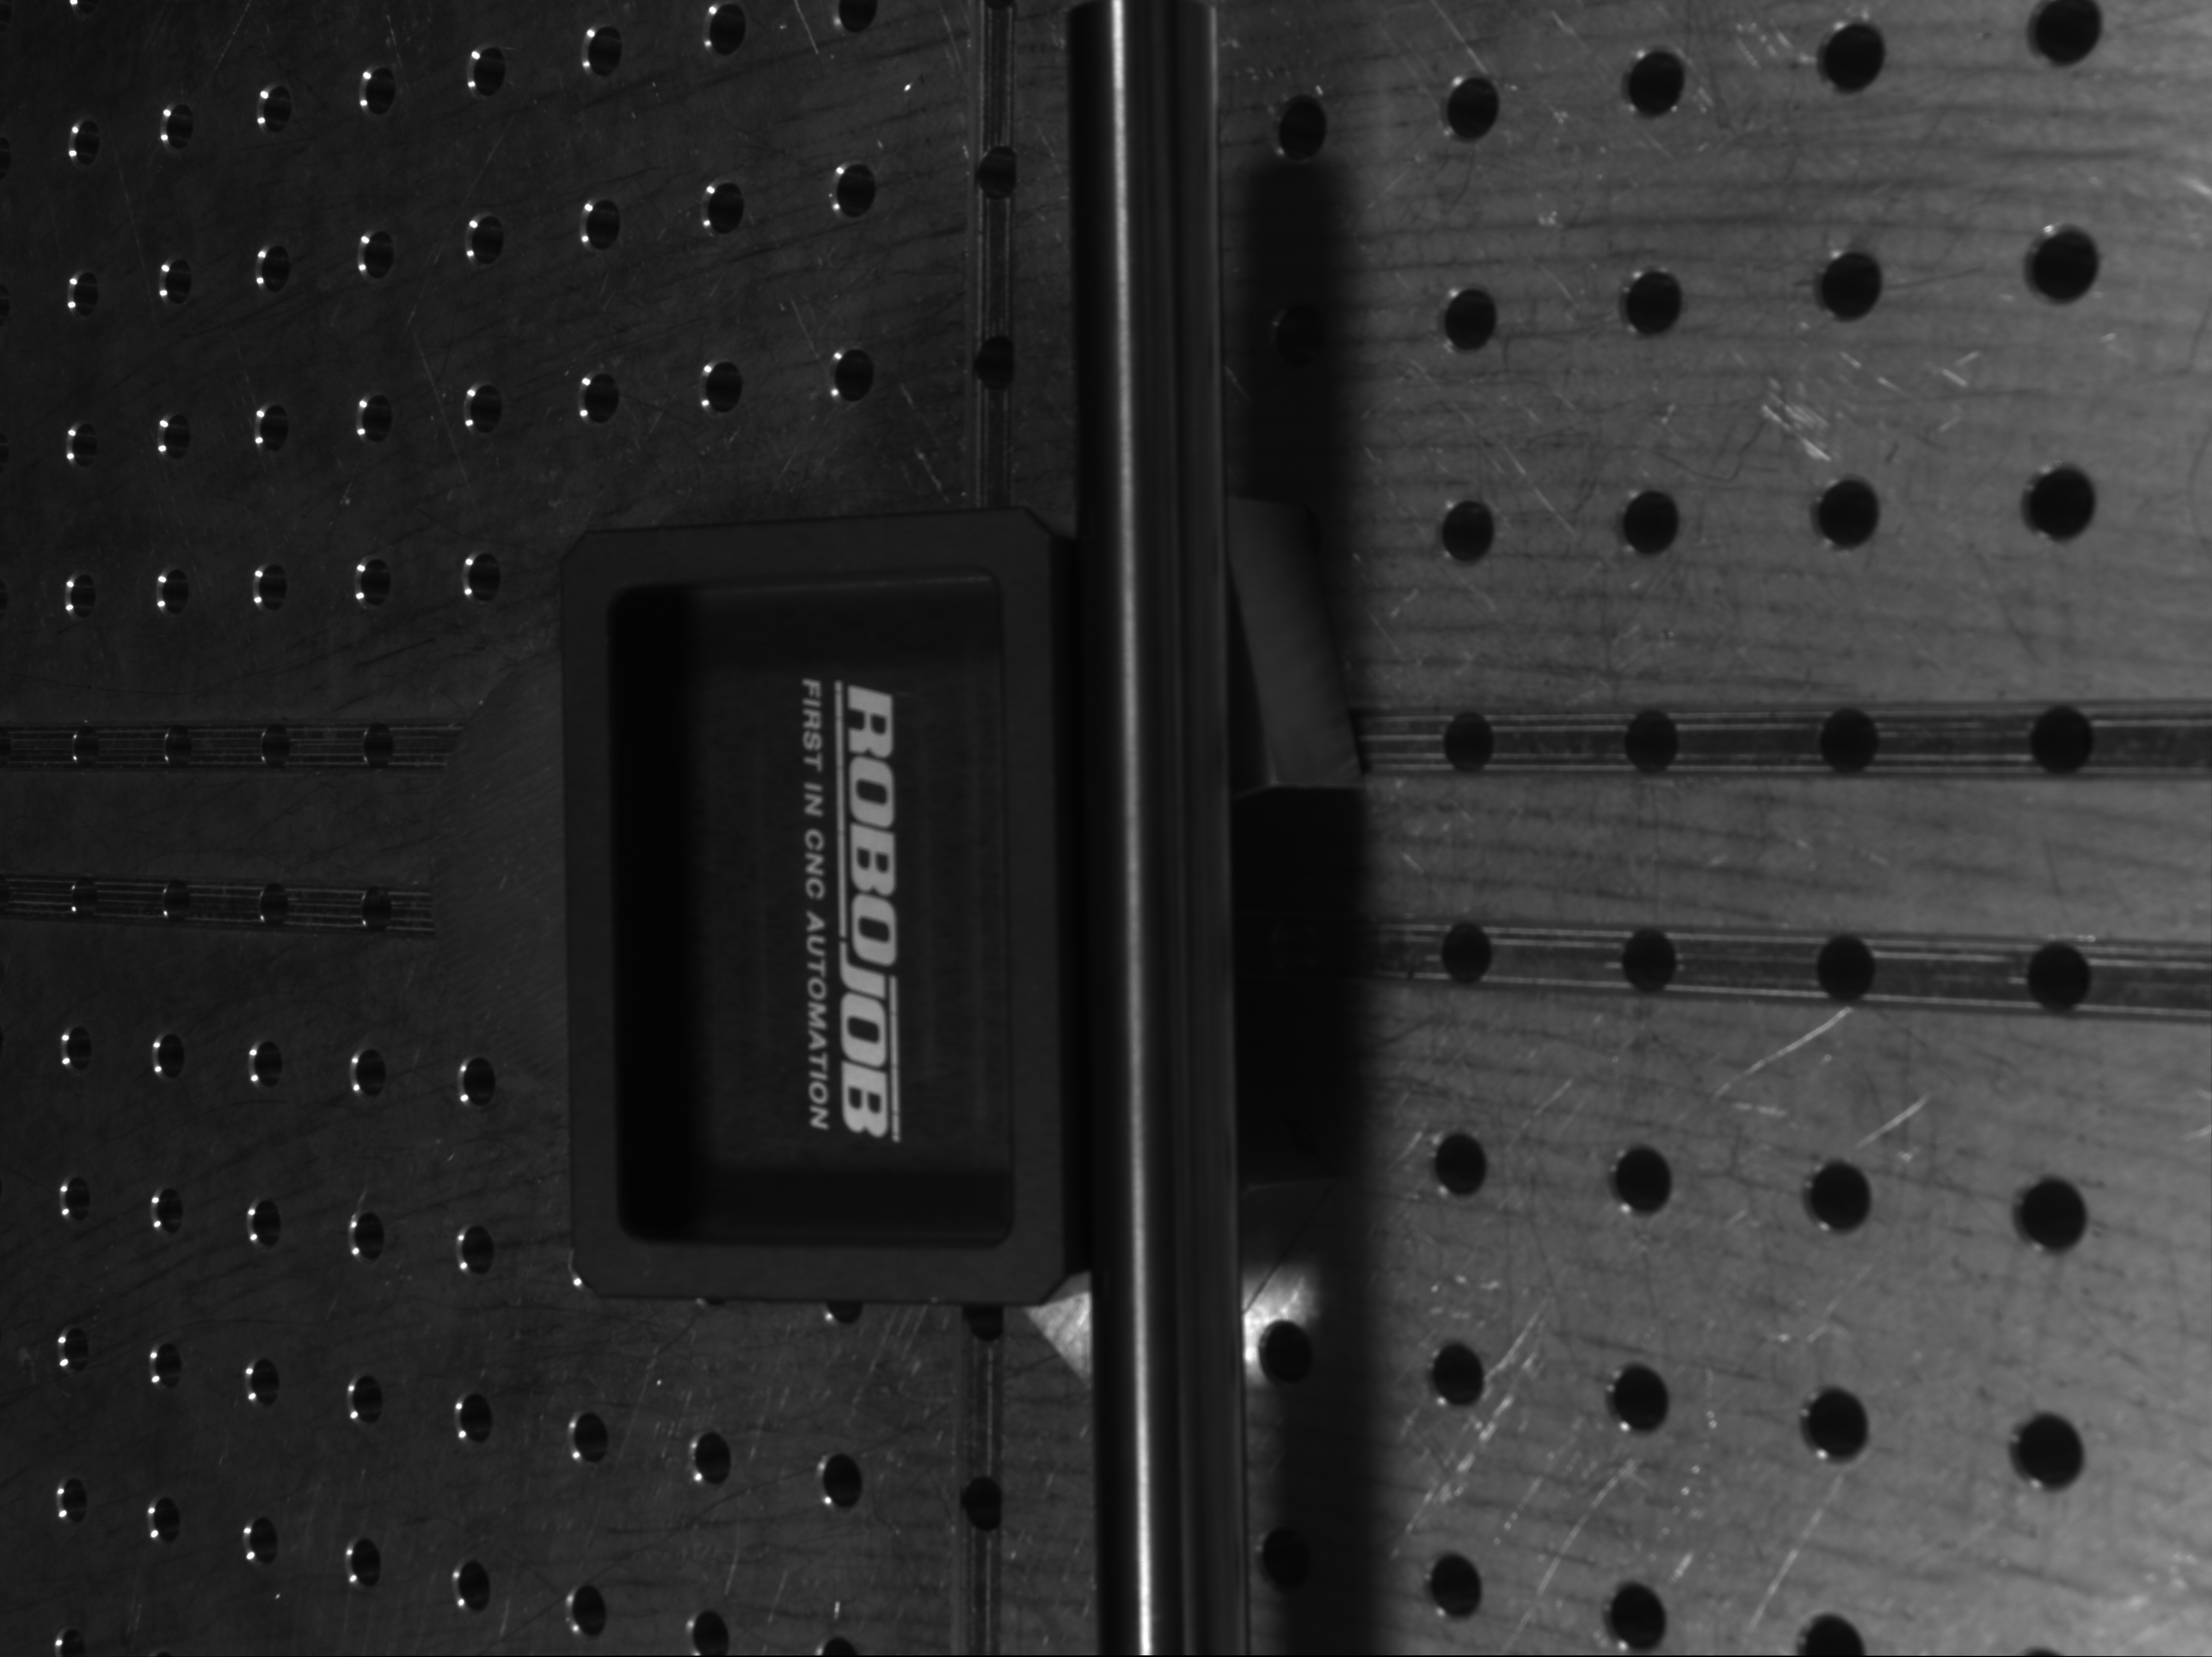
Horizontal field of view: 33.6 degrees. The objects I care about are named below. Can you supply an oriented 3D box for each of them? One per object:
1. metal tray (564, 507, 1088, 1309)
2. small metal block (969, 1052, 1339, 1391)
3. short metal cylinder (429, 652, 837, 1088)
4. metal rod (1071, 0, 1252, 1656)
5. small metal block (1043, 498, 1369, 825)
[{"bbox_3d":[-0.044,0.014,0.621,0.090,0.030,0.130,-2,89,20],"label":"metal tray"},{"bbox_3d":[0.004,0.064,0.634,0.050,0.025,0.050,46,117,30],"label":"small metal block"},{"bbox_3d":[-0.082,0.008,0.689,0.080,0.050,0.080,0,90,39],"label":"short metal cylinder"},{"bbox_3d":[0.009,0.016,0.599,0.025,0.025,0.300,-2,89,39],"label":"metal rod"},{"bbox_3d":[0.013,-0.025,0.629,0.050,0.025,0.050,-19,78,38],"label":"small metal block"}]
